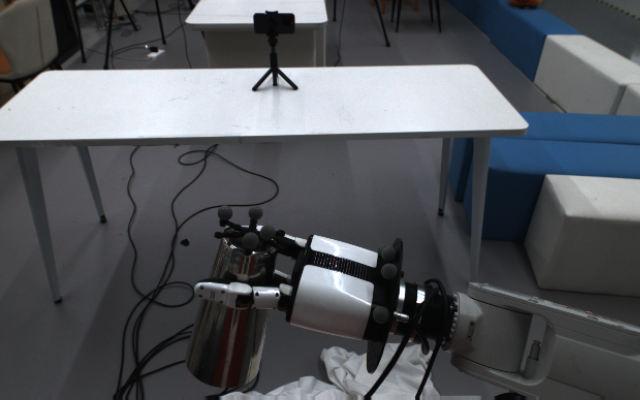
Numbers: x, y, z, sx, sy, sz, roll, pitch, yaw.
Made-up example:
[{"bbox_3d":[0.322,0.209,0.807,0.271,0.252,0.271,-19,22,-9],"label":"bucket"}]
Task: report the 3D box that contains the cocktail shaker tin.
[{"bbox_3d":[-0.099,0.124,0.578,0.093,0.170,0.093,13,18,-5],"label":"cocktail shaker tin"}]
